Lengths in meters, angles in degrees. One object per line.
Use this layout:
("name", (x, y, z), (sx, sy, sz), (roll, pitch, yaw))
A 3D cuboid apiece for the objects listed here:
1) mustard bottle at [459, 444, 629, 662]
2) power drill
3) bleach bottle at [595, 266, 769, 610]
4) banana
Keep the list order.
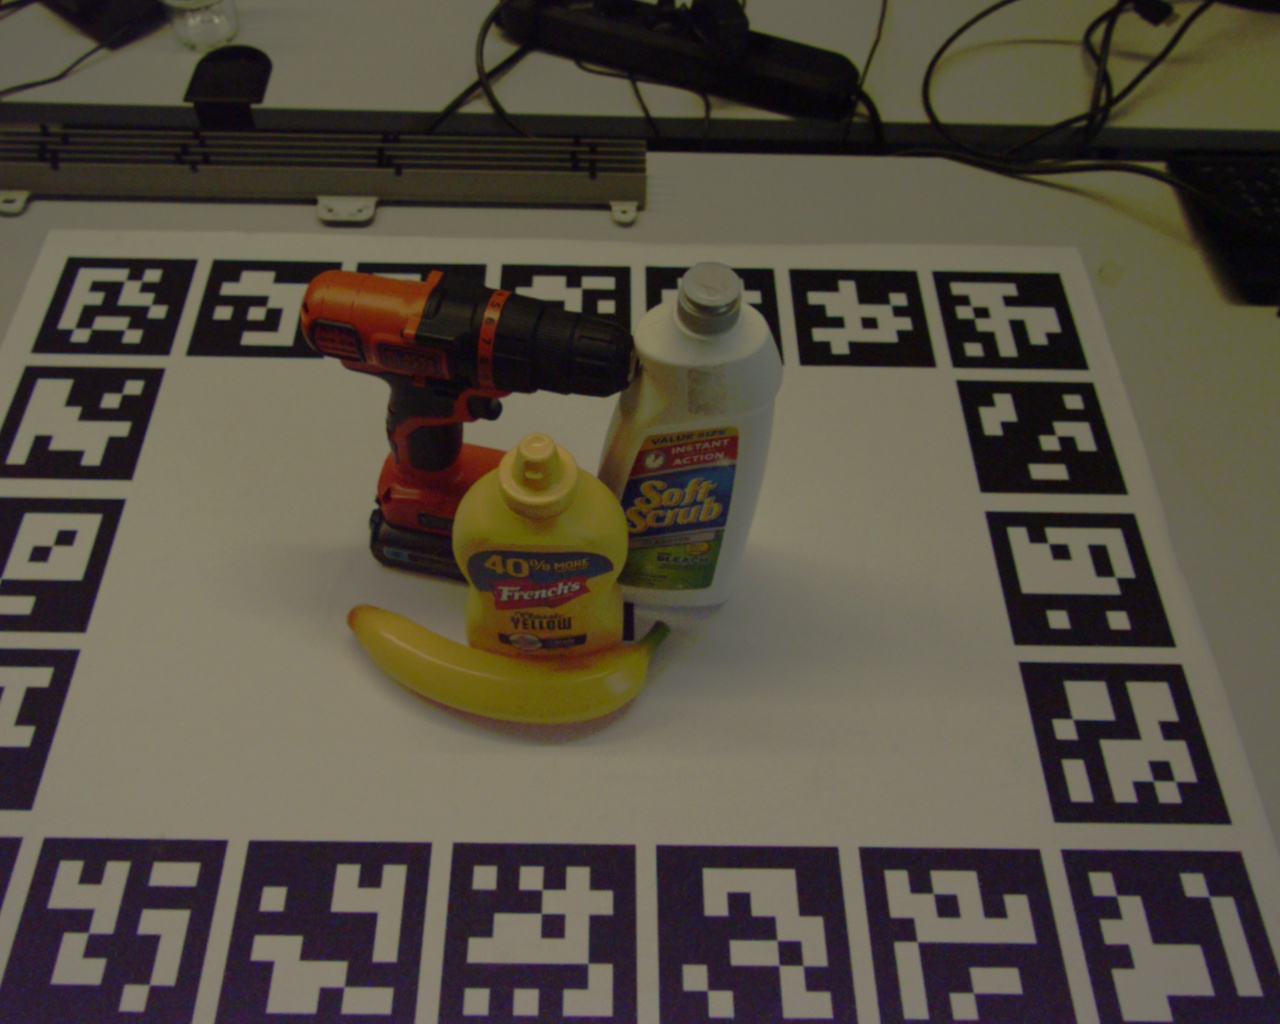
("mustard bottle", (-0.055, 0.023, 0.657), (0.096, 0.191, 0.058), (2, 57, -2))
("power drill", (-0.094, -0.048, 0.679), (0.185, 0.186, 0.057), (12, 56, 4))
("bleach bottle", (0.016, -0.037, 0.670), (0.102, 0.250, 0.068), (4, 51, 0))
("banana", (-0.078, 0.094, 0.712), (0.198, 0.039, 0.074), (4, 58, 4))
